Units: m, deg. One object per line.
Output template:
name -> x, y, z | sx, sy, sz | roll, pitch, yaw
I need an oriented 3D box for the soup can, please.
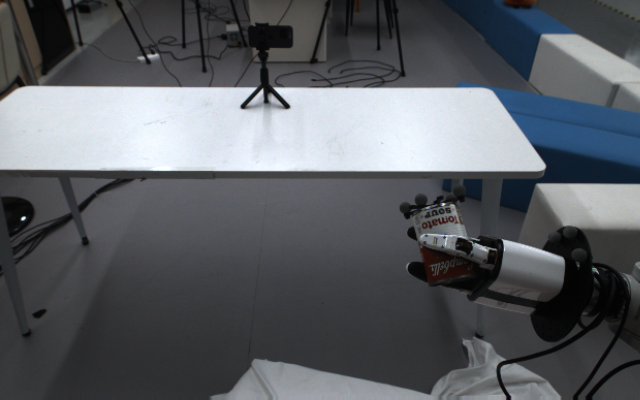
soup can -> 0.171, 0.060, 0.663 | 0.067, 0.067, 0.101 | -8, 74, -14
